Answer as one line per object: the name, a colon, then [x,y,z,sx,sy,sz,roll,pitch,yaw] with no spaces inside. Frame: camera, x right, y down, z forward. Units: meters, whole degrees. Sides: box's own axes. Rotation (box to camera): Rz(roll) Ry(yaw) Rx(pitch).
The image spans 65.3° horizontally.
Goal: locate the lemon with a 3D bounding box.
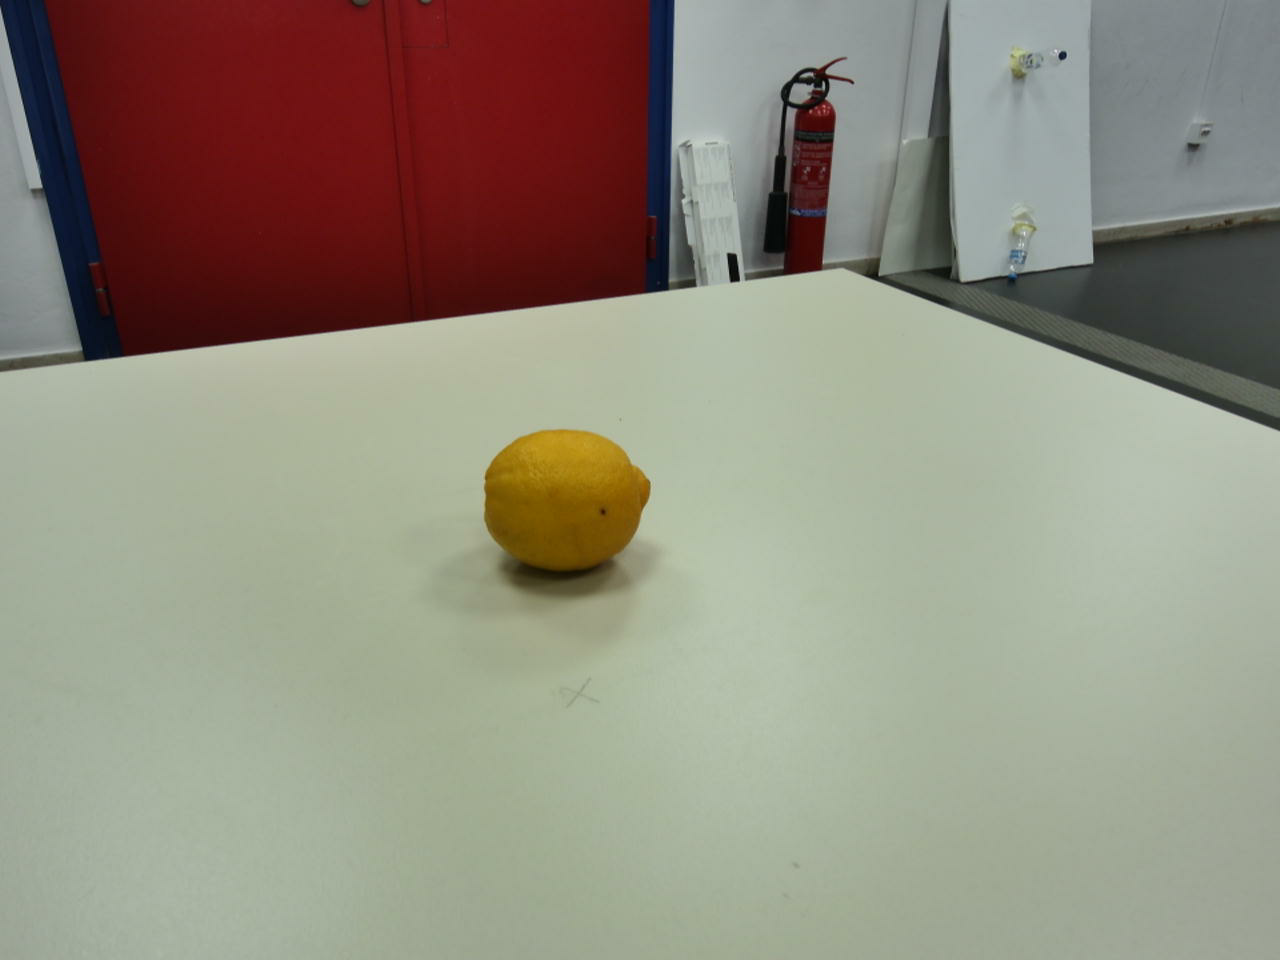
lemon: [-0.032,0.009,0.421,0.067,0.059,0.060,8,25,14]
